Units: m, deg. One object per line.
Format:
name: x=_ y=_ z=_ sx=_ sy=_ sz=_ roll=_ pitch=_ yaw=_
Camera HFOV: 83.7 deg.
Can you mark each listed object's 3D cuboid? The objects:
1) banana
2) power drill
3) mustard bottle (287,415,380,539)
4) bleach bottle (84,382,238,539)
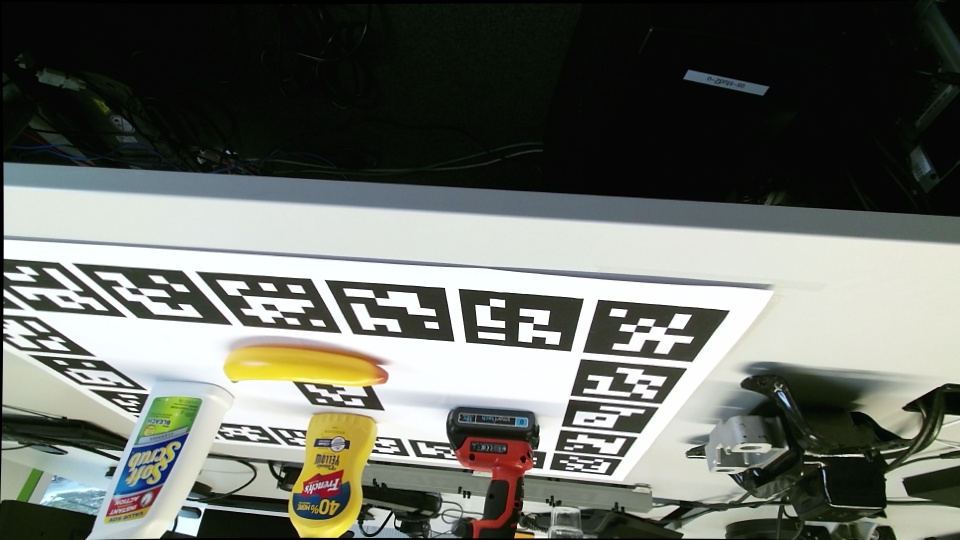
banana: x=-0.200 y=0.116 z=0.584 sx=0.198 sy=0.038 sz=0.074 roll=-1 pitch=141 yaw=8
power drill: x=-0.020 y=0.304 z=0.644 sx=0.185 sy=0.186 sz=0.057 roll=-2 pitch=143 yaw=7
mustard bottle: x=-0.203 y=0.295 z=0.717 sx=0.096 sy=0.190 sz=0.058 roll=0 pitch=143 yaw=13
bleach bottle: x=-0.399 y=0.269 z=0.664 sx=0.103 sy=0.249 sz=0.068 roll=9 pitch=144 yaw=-1
